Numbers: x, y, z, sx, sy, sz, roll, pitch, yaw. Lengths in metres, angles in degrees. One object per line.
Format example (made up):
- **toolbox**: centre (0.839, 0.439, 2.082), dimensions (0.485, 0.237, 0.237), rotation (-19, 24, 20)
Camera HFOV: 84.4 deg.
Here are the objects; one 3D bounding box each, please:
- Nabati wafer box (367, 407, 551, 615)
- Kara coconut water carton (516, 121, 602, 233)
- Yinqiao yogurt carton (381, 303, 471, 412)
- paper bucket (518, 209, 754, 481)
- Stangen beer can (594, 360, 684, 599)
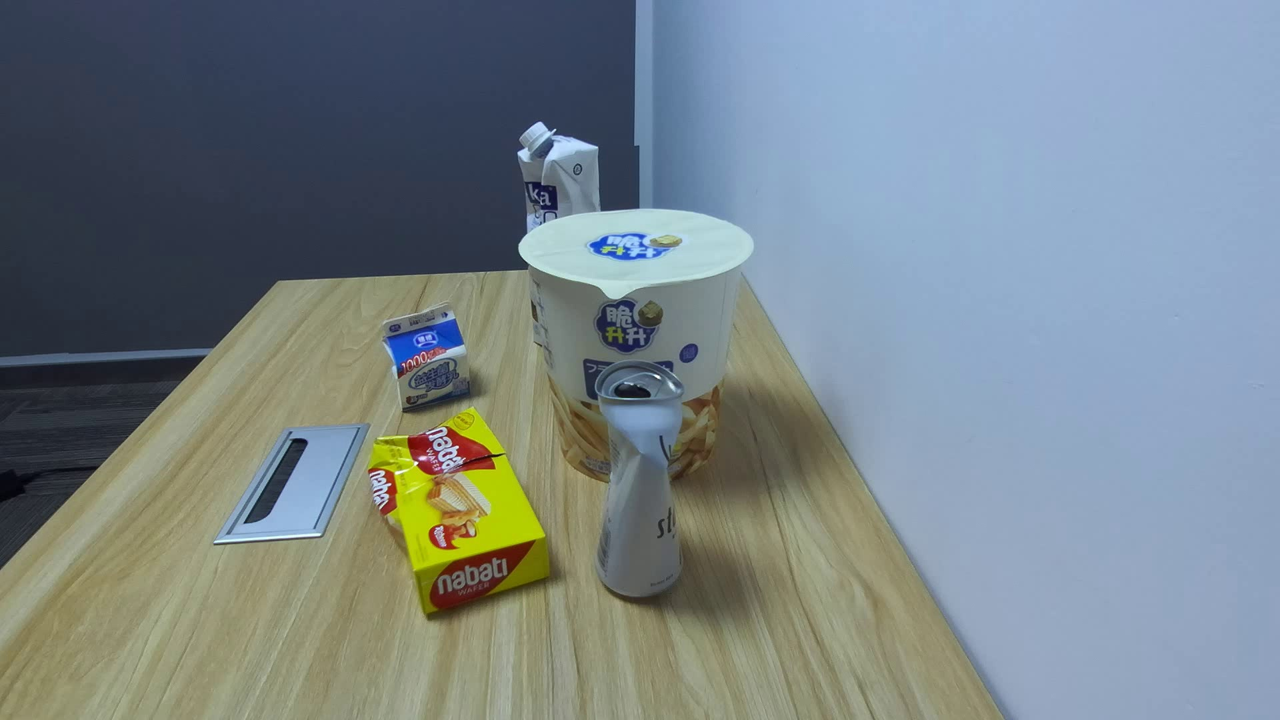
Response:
- **Nabati wafer box**: centre (-0.155, 0.109, 0.568), dimensions (0.107, 0.042, 0.203), rotation (-13, 30, -23)
- **Kara coconut water carton**: centre (-0.086, -0.133, 0.778), dimensions (0.079, 0.256, 0.083), rotation (-19, 33, -27)
- **Yinqiao yogurt carton**: centre (-0.225, -0.010, 0.731), dimensions (0.075, 0.097, 0.080), rotation (-17, 36, -26)
- **paper bucket**: centre (-0.001, -0.012, 0.620), dimensions (0.198, 0.195, 0.198), rotation (-1, 28, 1)
- **Stangen beer can**: centre (-0.001, 0.085, 0.481), dimensions (0.076, 0.162, 0.066), rotation (20, 36, 32)
